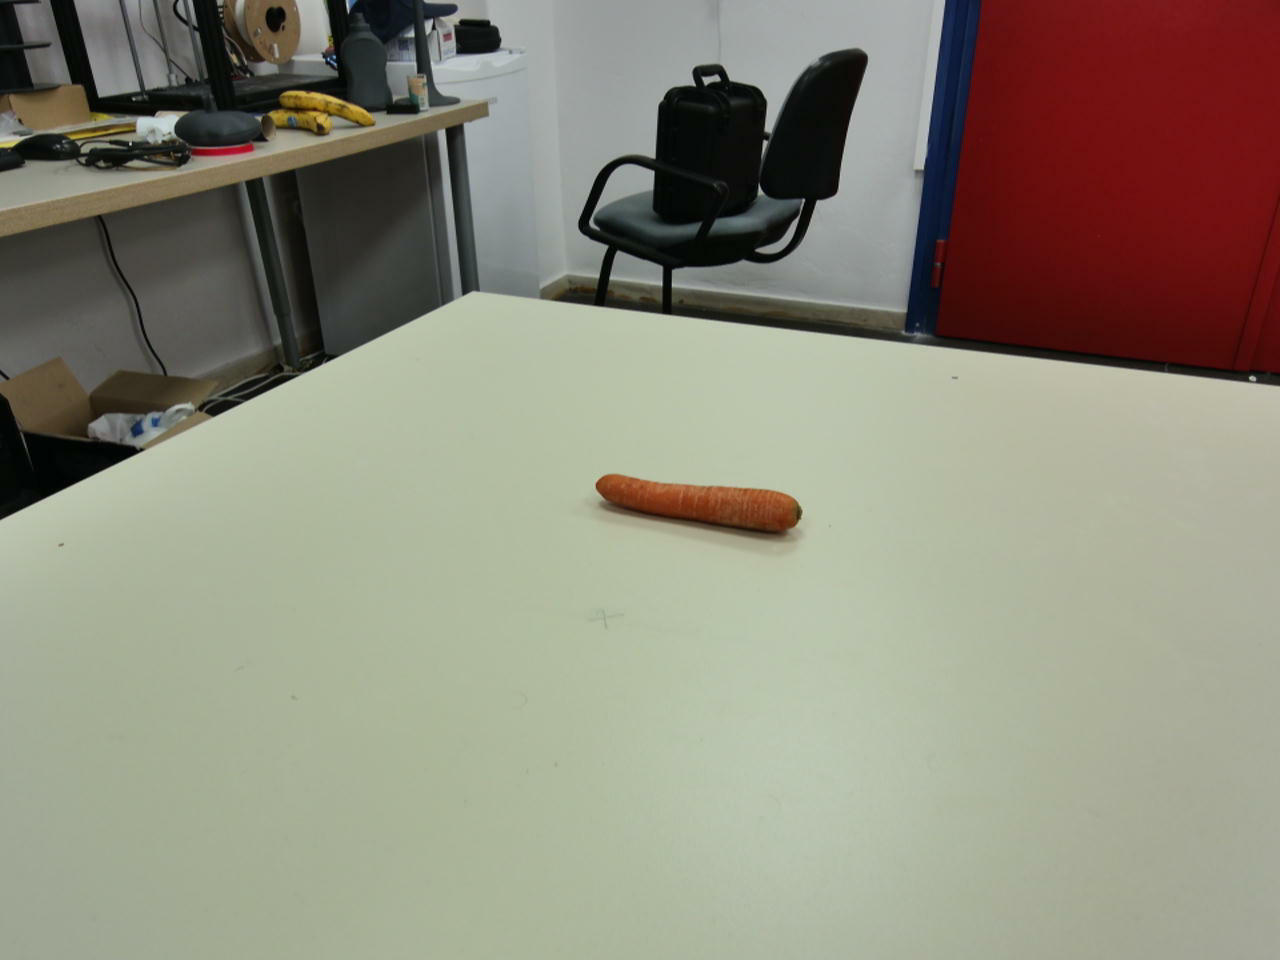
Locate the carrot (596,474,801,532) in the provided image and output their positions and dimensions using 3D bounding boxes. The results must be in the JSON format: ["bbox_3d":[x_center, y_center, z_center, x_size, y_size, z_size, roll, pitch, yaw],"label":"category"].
[{"bbox_3d":[0.031,0.011,0.568,0.122,0.023,0.024,9,27,20],"label":"carrot"}]
